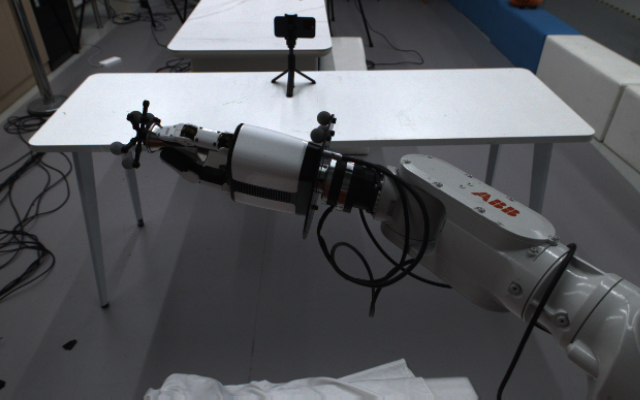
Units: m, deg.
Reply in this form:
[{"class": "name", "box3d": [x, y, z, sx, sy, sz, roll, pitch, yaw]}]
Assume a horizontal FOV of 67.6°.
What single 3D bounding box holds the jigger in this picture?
[{"class": "jigger", "box3d": [-0.178, -0.076, 0.619, 0.071, 0.043, 0.043, 13, 36, 4]}]
